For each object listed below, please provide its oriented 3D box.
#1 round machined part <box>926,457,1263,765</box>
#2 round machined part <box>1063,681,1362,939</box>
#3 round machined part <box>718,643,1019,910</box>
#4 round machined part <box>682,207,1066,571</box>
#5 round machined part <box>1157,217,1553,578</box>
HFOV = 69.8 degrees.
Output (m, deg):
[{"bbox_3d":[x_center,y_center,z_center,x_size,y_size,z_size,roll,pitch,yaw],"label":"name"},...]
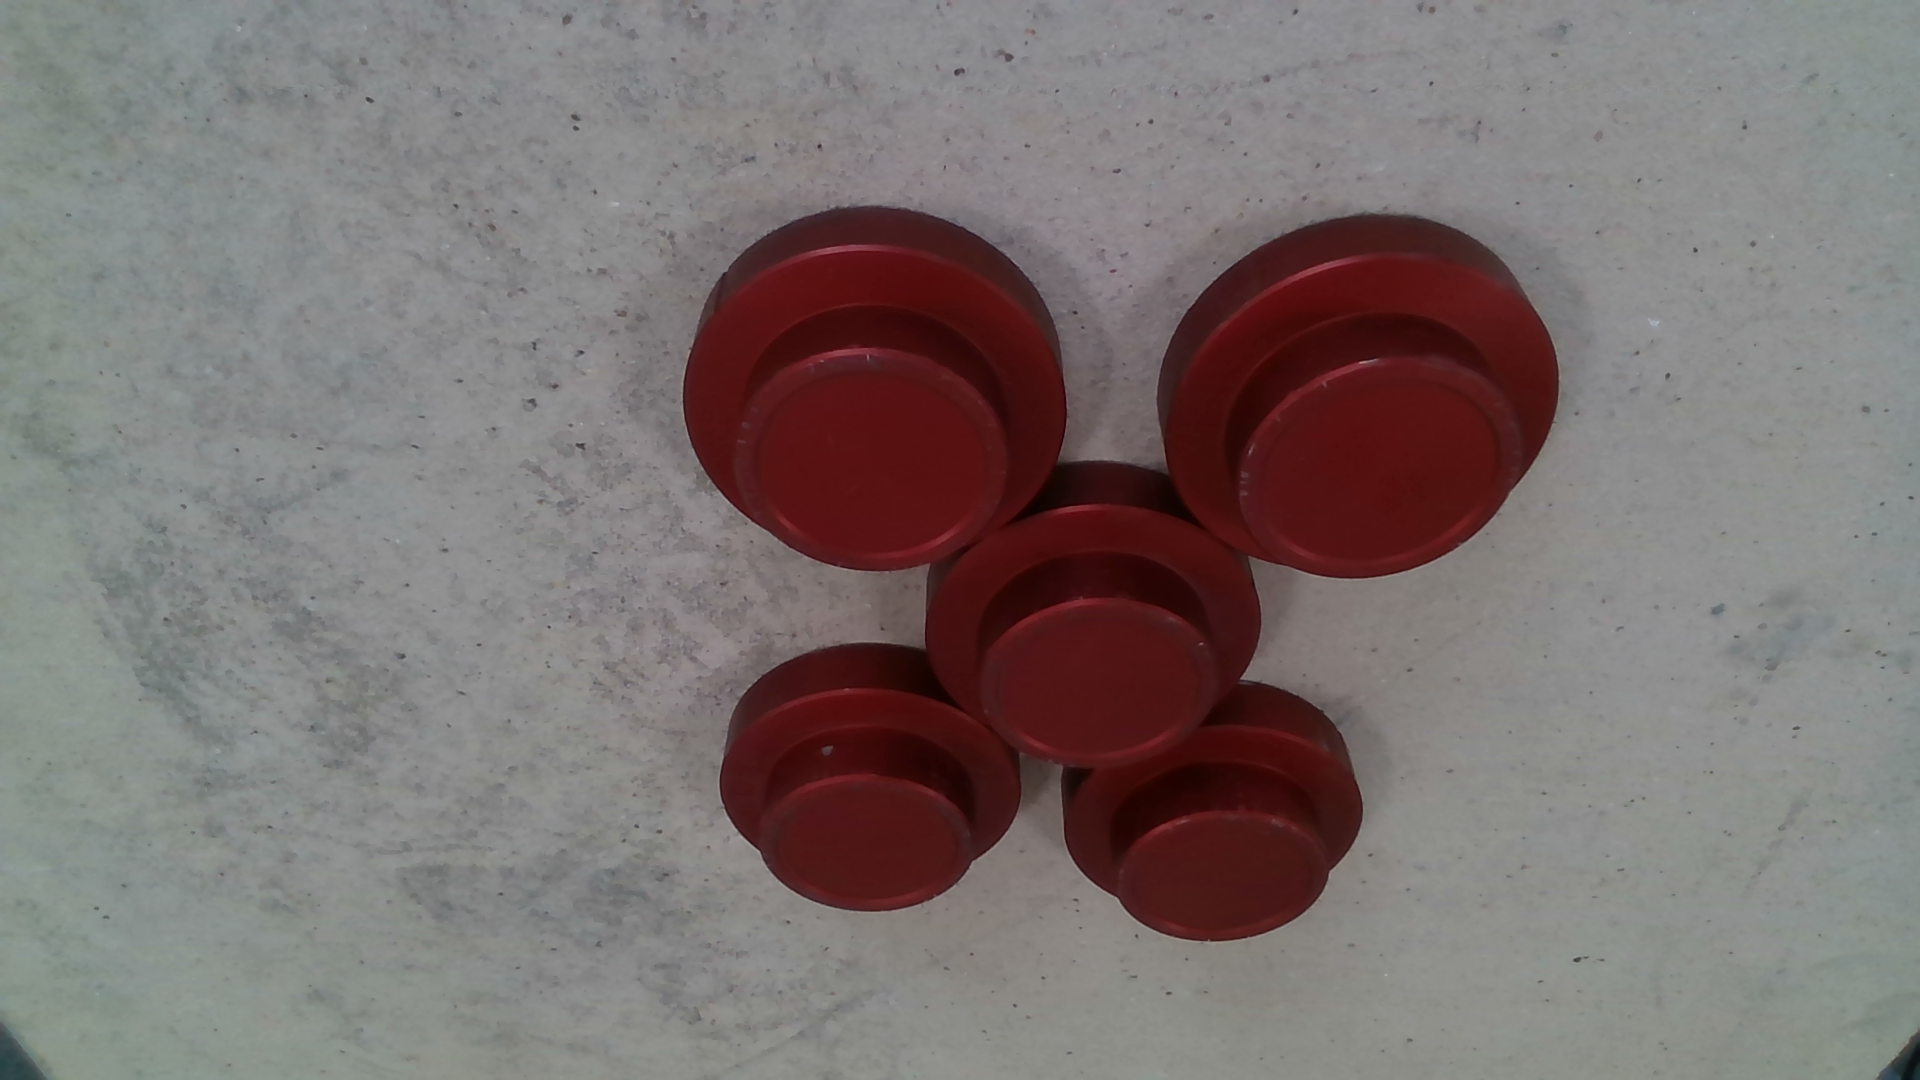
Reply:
[{"bbox_3d":[0.039,0.027,0.401,0.098,0.042,0.098,1,129,1],"label":"round machined part"},{"bbox_3d":[0.084,0.095,0.458,0.098,0.042,0.098,1,129,1],"label":"round machined part"},{"bbox_3d":[-0.030,0.083,0.448,0.098,0.042,0.098,1,129,1],"label":"round machined part"},{"bbox_3d":[-0.022,-0.031,0.352,0.098,0.042,0.098,1,130,1],"label":"round machined part"},{"bbox_3d":[0.102,-0.029,0.353,0.098,0.042,0.098,0,130,0],"label":"round machined part"}]
